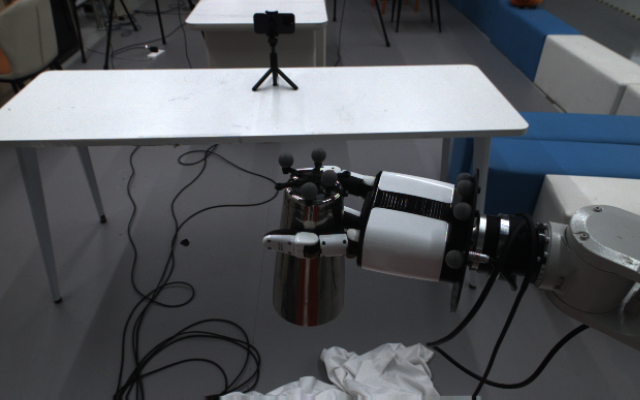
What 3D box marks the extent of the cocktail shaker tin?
[{"bbox_3d":[-0.009,0.056,0.578,0.093,0.170,0.093,2,32,-2],"label":"cocktail shaker tin"}]
